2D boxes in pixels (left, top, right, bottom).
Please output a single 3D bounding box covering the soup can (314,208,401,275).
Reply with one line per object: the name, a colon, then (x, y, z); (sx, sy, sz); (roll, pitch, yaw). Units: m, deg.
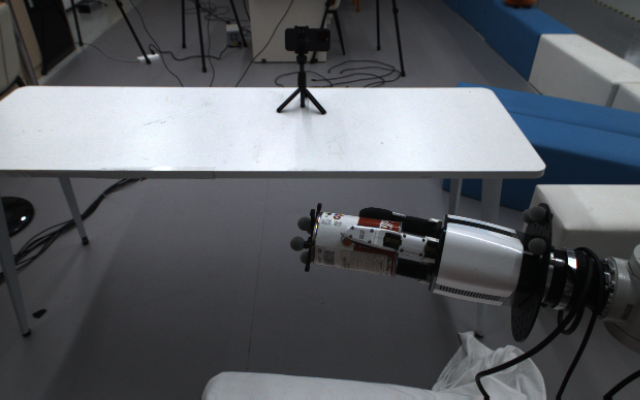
soup can: (0.049, 0.053, 0.593); (0.101, 0.067, 0.067); (7, 35, 10)
